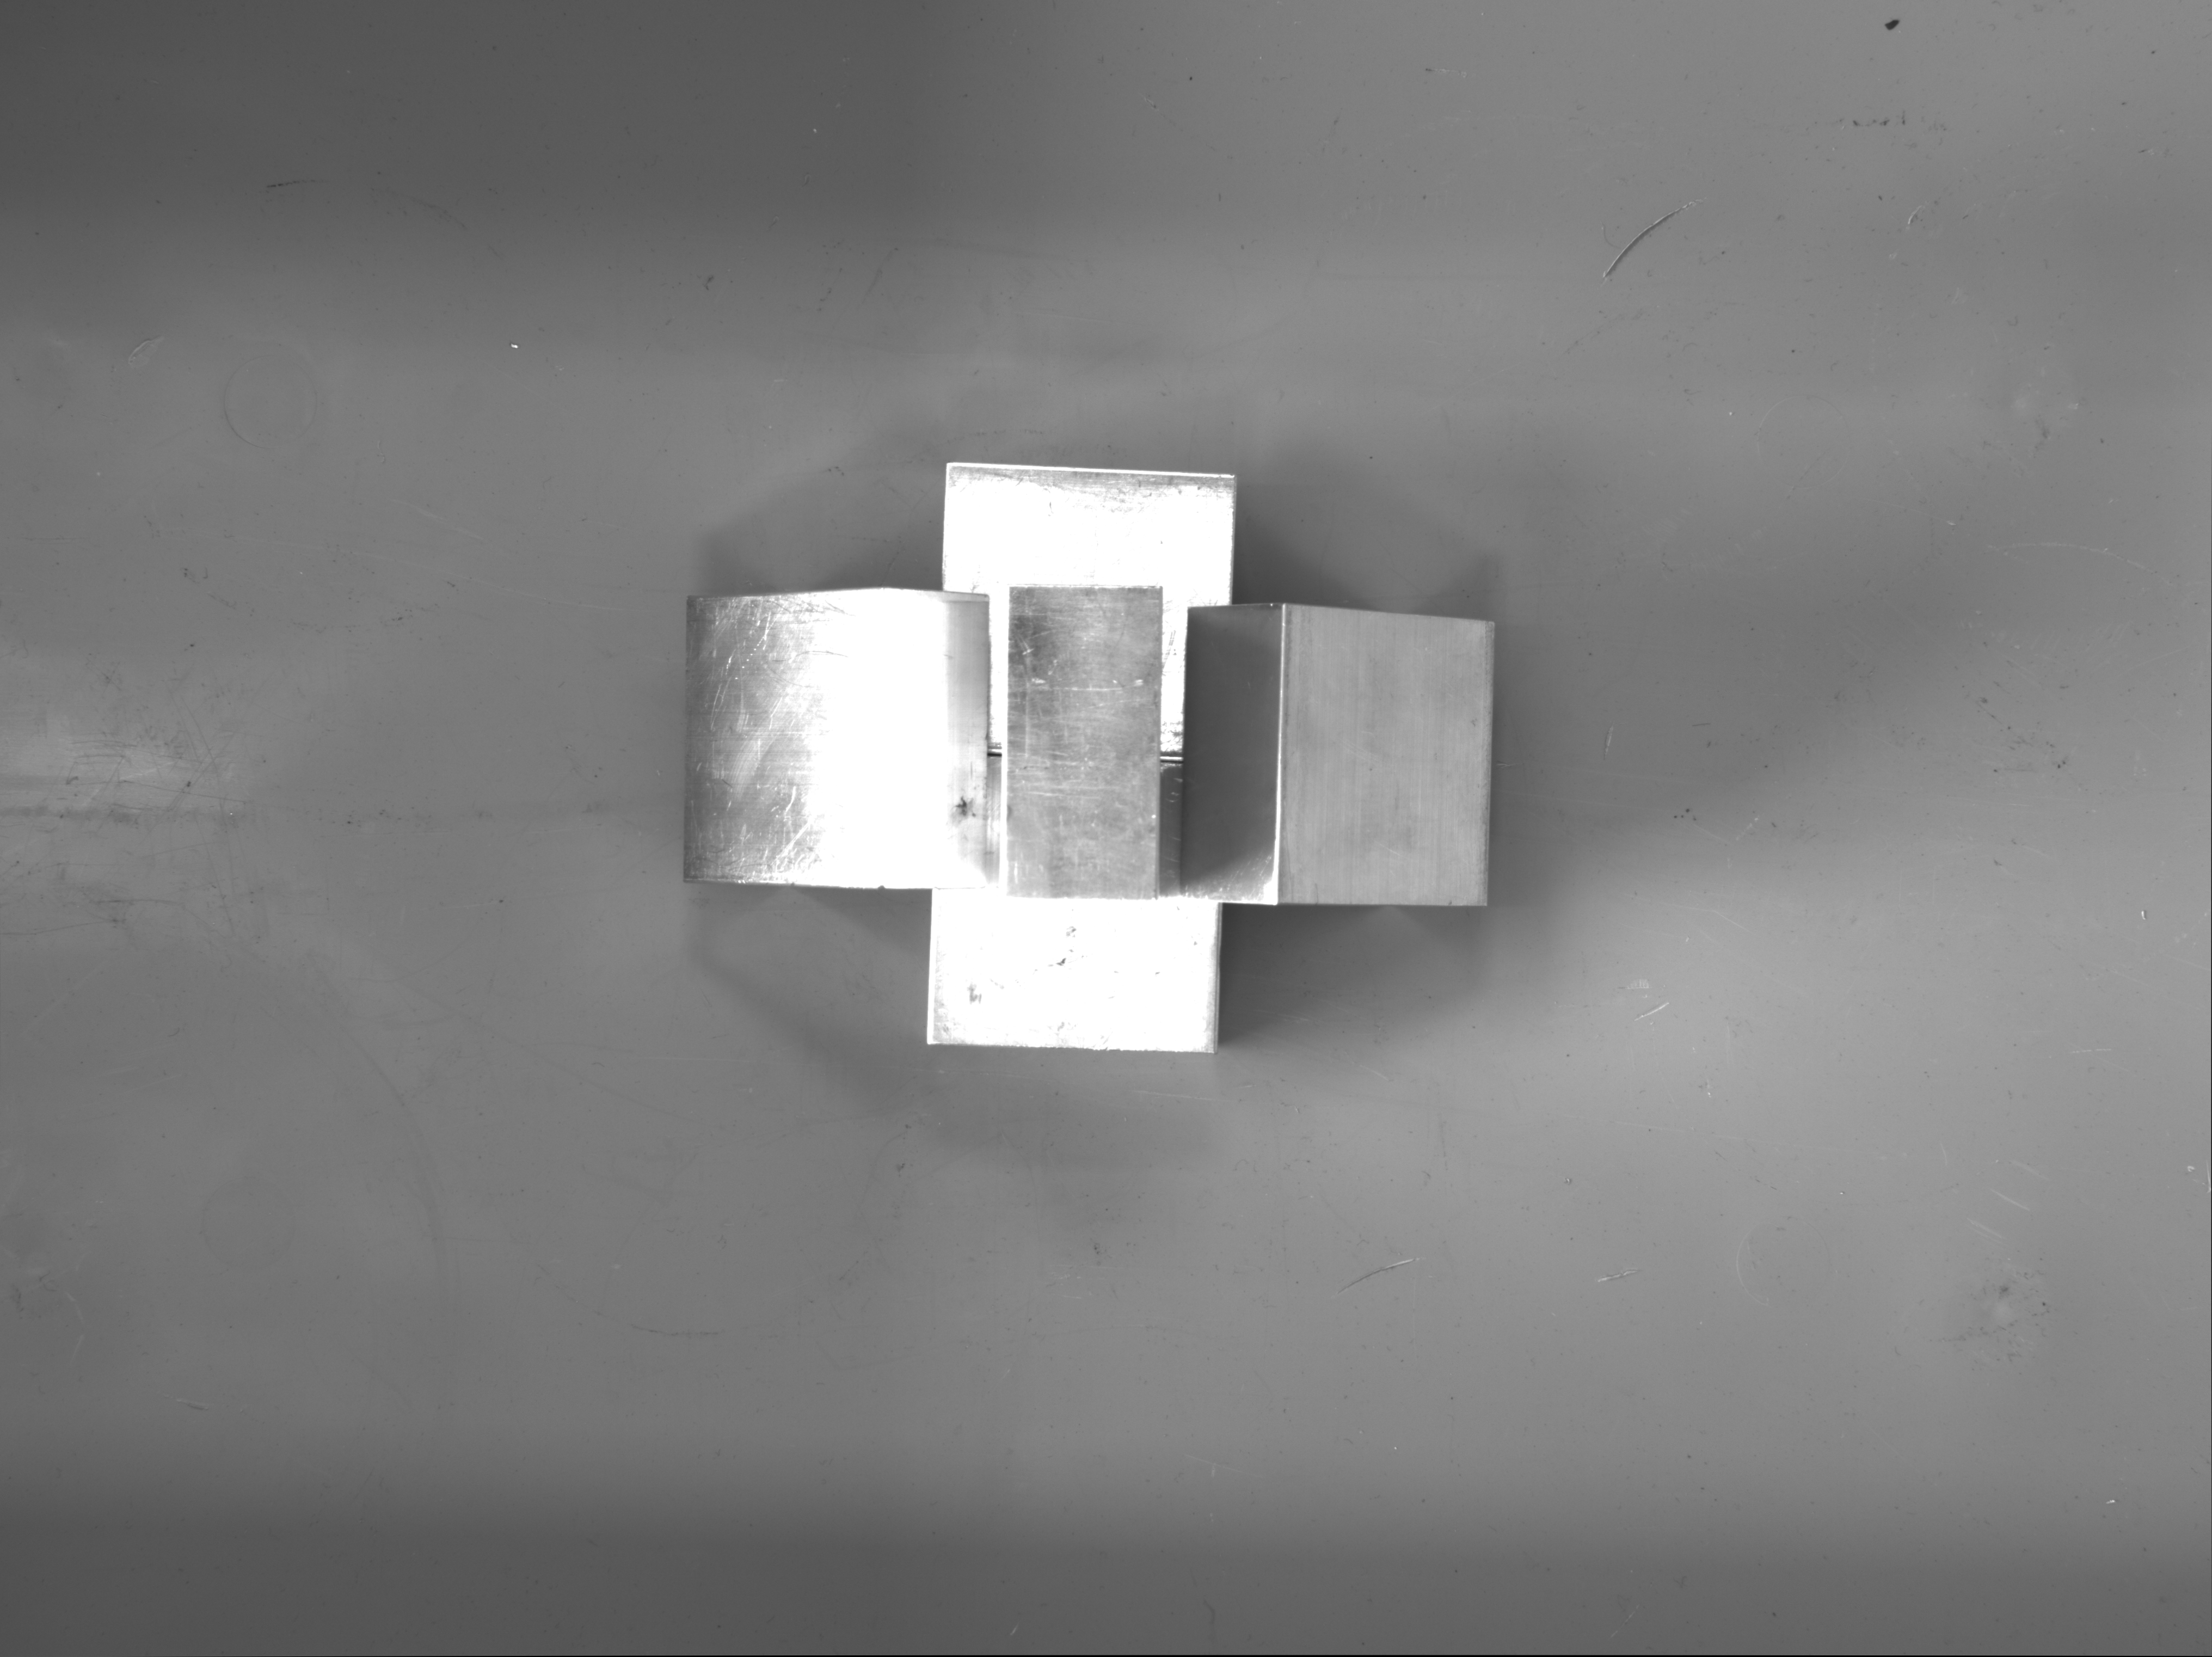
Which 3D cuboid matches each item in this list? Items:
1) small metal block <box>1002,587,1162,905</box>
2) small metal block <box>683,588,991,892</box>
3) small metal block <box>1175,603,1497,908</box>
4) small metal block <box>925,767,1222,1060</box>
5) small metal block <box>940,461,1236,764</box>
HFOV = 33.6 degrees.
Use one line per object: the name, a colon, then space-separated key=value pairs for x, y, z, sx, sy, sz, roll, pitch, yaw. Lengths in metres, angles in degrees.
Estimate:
small metal block: x=-0.004 y=-0.013 z=0.606 sx=0.025 sy=0.050 sz=0.050 roll=1 pitch=90 yaw=0
small metal block: x=-0.047 y=-0.015 z=0.630 sx=0.050 sy=0.025 sz=0.050 roll=1 pitch=90 yaw=43
small metal block: x=0.040 y=-0.012 z=0.632 sx=0.050 sy=0.025 sz=0.050 roll=2 pitch=90 yaw=-39
small metal block: x=-0.005 y=0.014 z=0.643 sx=0.050 sy=0.025 sz=0.050 roll=3 pitch=90 yaw=0
small metal block: x=-0.004 y=-0.037 z=0.643 sx=0.050 sy=0.025 sz=0.050 roll=3 pitch=90 yaw=-1
